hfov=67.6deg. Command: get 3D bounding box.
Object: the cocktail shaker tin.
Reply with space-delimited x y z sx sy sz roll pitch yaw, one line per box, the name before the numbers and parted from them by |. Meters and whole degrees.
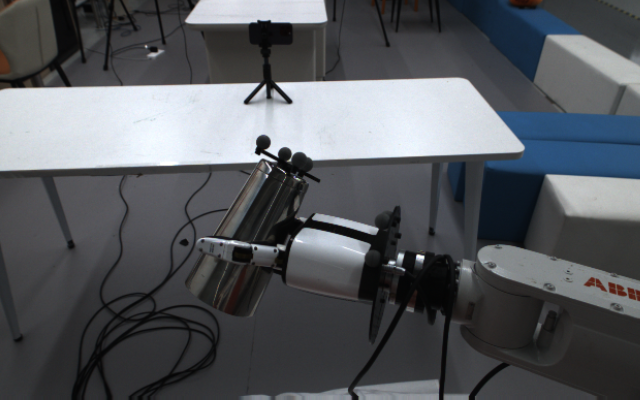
cocktail shaker tin | -0.079 0.038 0.578 0.093 0.170 0.093 27 2 -1
